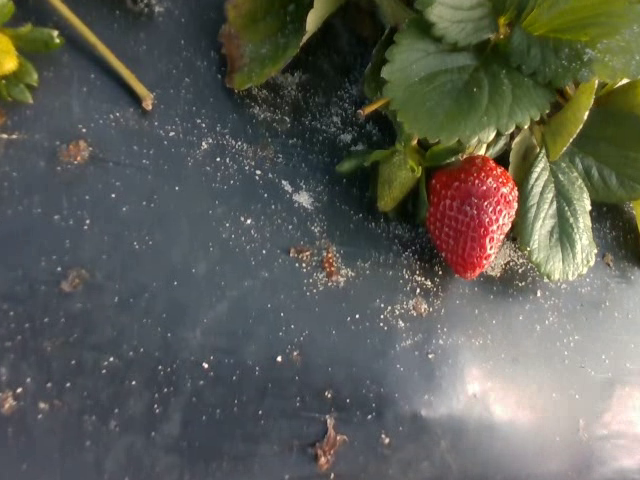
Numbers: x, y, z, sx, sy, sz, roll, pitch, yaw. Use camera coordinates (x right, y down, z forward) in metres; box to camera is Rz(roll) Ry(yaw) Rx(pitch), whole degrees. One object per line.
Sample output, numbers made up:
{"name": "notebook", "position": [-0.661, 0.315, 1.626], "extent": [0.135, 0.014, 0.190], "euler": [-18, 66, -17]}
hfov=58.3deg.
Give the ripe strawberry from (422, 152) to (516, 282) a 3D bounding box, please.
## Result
{"name": "ripe strawberry", "position": [0.038, -0.004, 0.144], "extent": [0.029, 0.036, 0.021], "euler": [7, -18, -7]}
